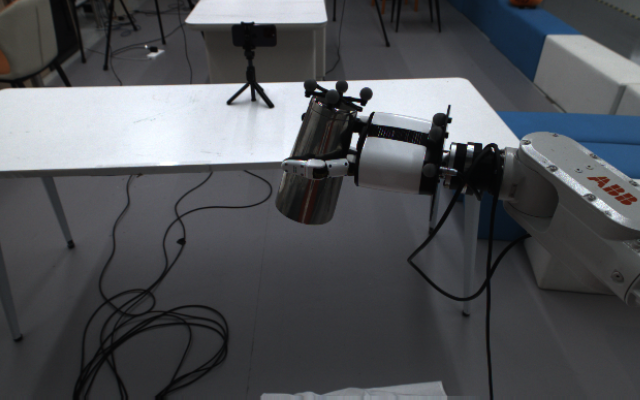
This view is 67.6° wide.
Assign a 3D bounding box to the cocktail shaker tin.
[{"bbox_3d":[0.000,-0.062,0.691,0.093,0.170,0.093,12,29,-7],"label":"cocktail shaker tin"}]
